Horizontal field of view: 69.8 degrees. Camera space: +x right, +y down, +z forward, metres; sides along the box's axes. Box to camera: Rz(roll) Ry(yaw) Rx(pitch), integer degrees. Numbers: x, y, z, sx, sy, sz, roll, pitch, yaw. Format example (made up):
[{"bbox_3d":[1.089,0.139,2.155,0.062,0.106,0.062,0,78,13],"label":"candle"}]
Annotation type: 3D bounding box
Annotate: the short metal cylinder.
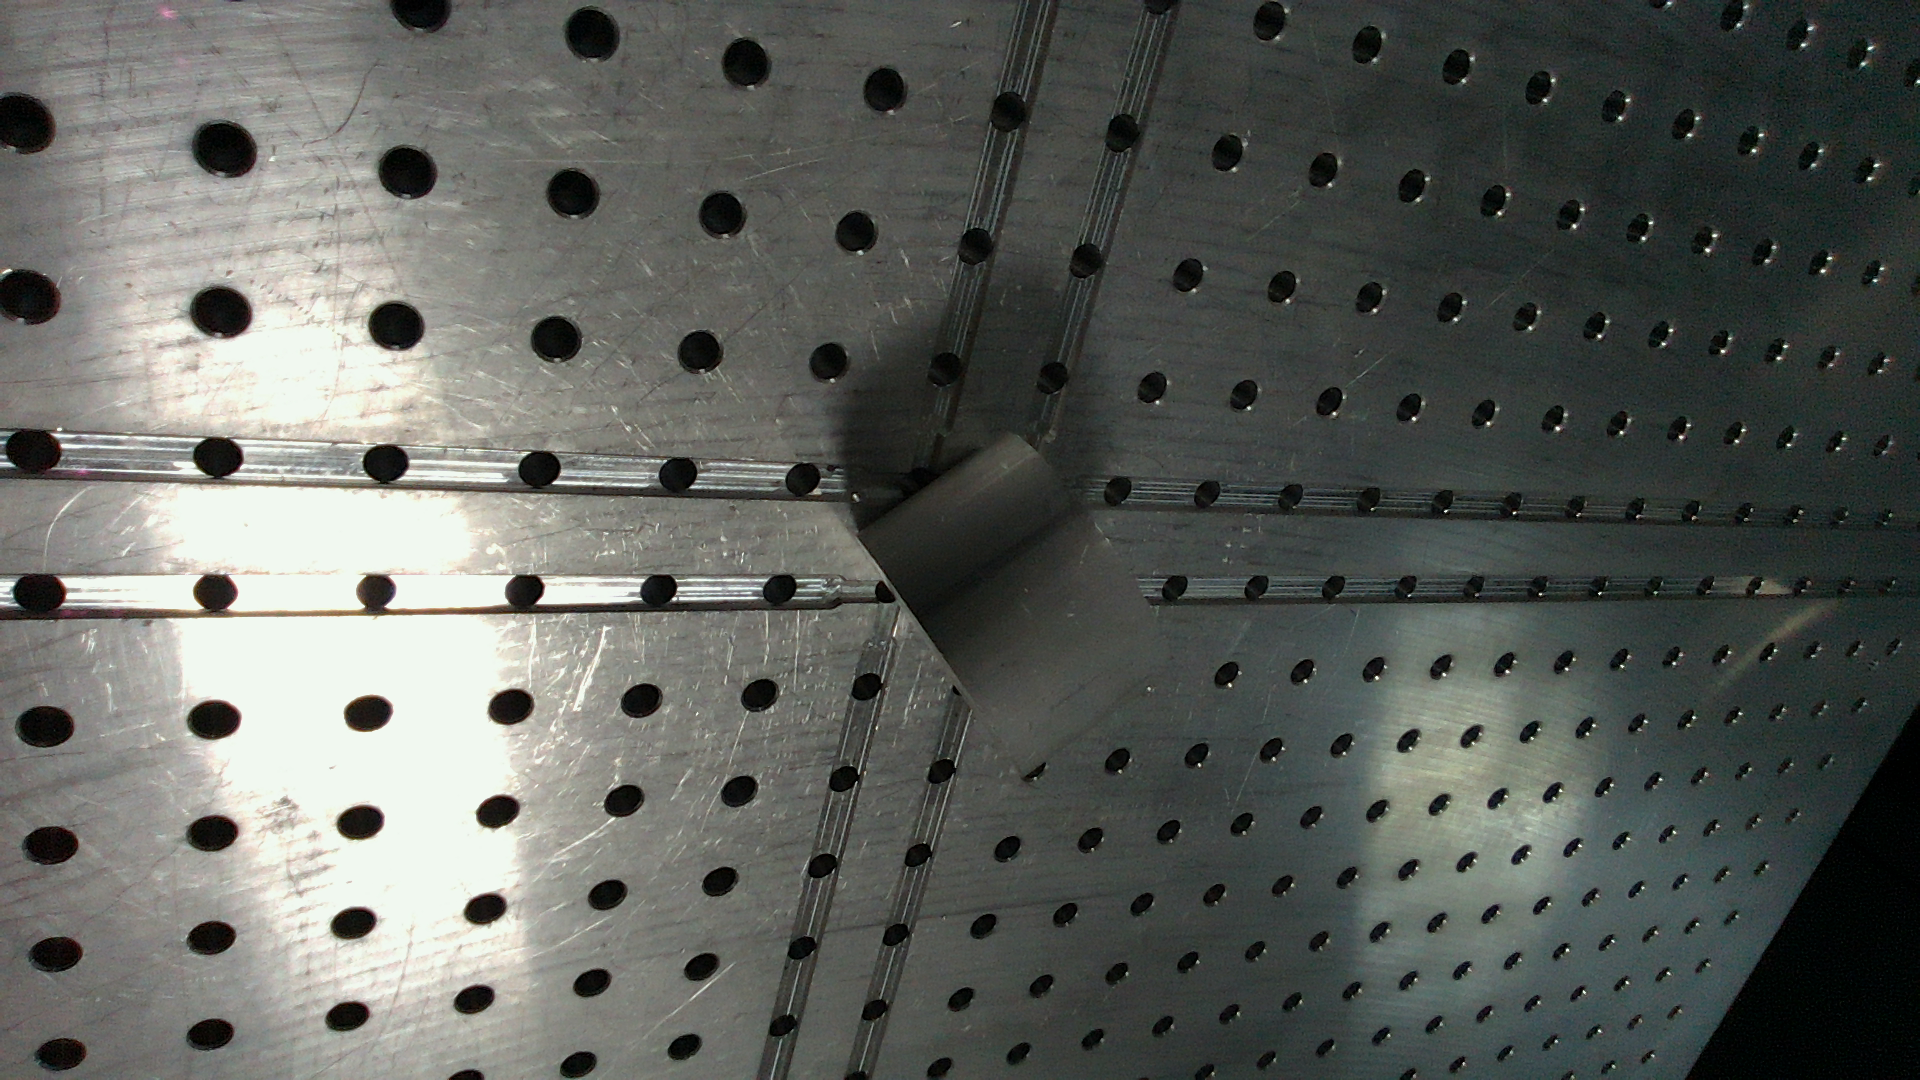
[{"bbox_3d":[0.015,0.018,0.375,0.050,0.080,0.080,-35,129,-5],"label":"short metal cylinder"}]
